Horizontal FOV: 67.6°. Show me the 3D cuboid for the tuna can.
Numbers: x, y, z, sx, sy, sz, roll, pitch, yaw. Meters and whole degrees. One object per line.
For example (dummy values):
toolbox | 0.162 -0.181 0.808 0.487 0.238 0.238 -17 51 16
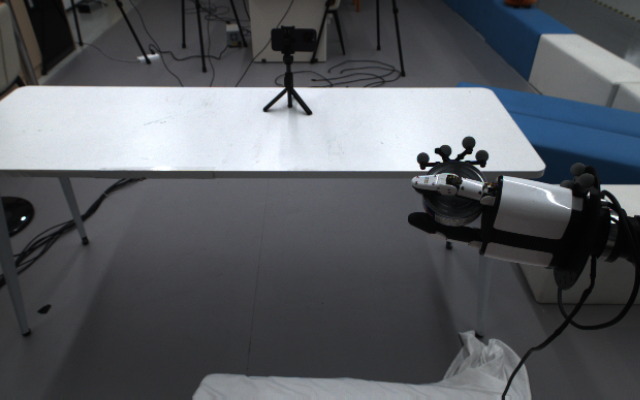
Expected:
tuna can | 0.180 -0.010 0.652 0.085 0.034 0.085 -6 59 11
